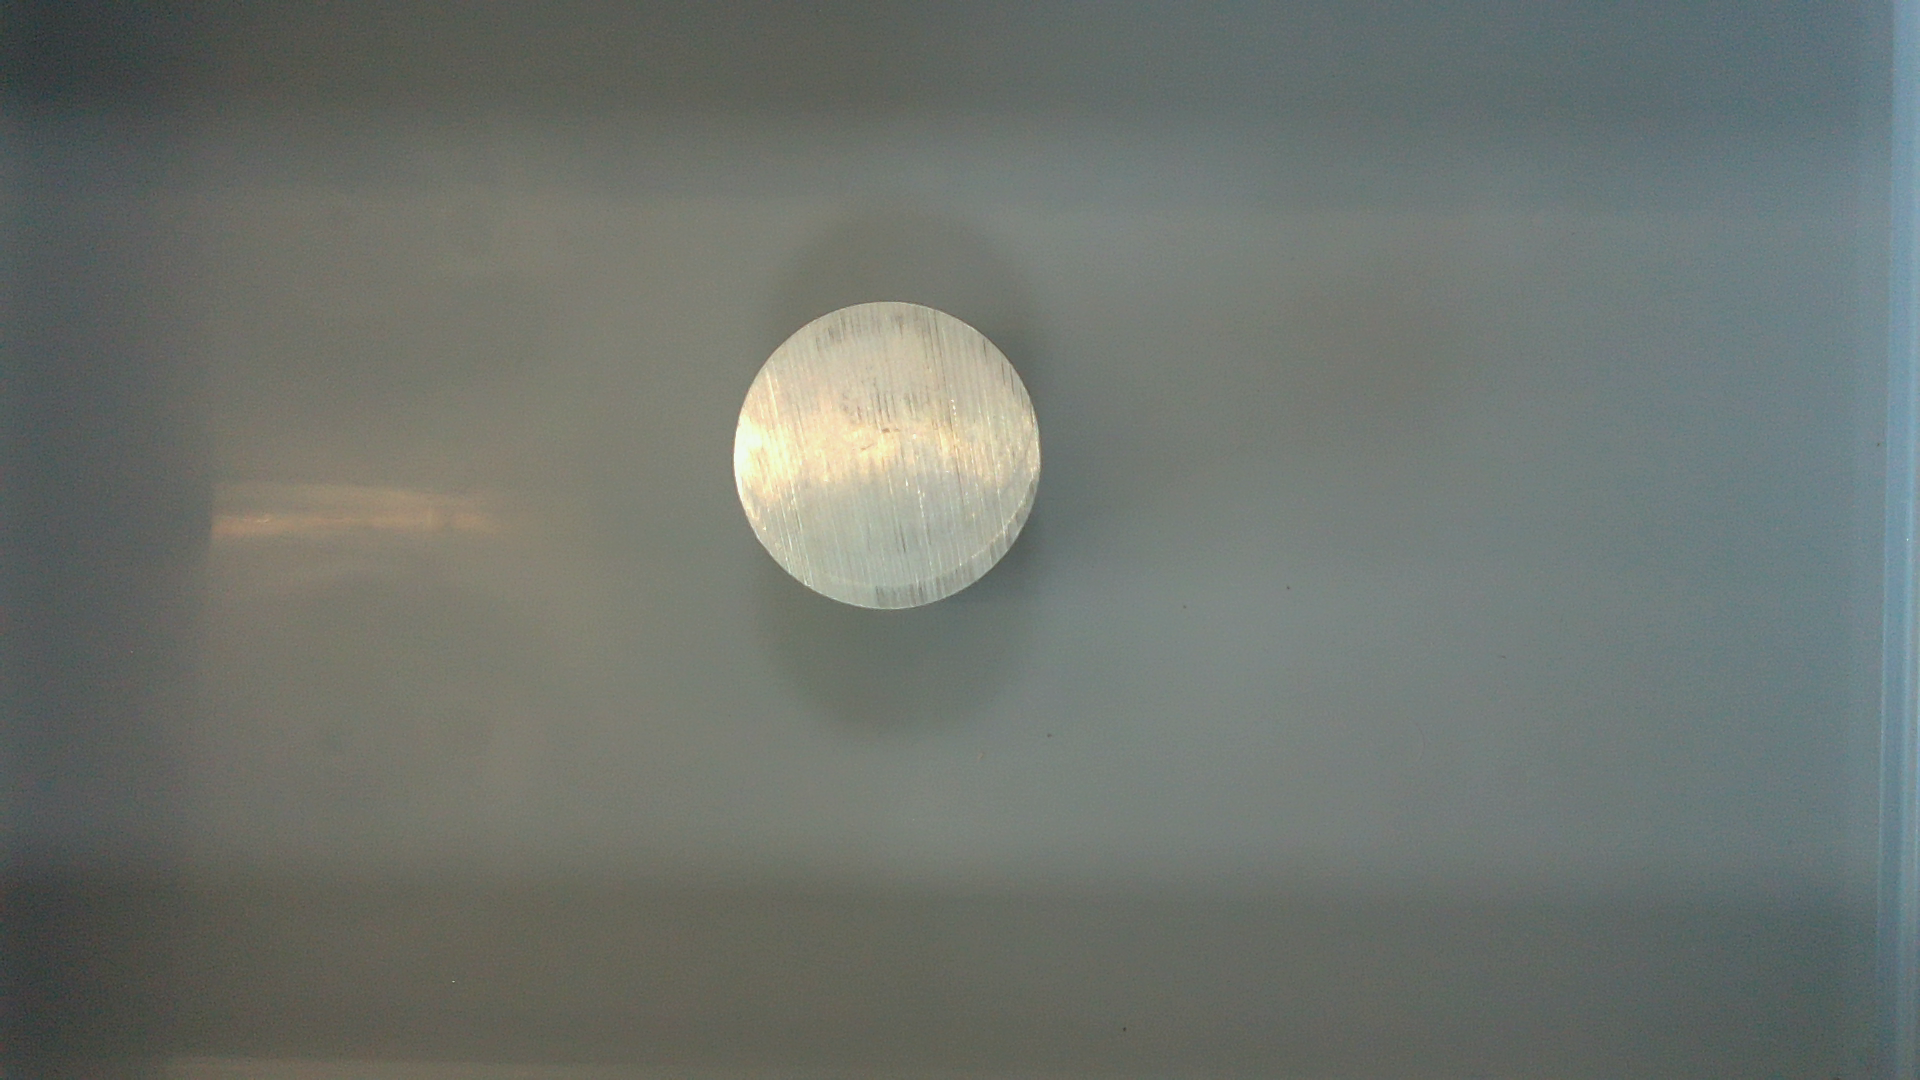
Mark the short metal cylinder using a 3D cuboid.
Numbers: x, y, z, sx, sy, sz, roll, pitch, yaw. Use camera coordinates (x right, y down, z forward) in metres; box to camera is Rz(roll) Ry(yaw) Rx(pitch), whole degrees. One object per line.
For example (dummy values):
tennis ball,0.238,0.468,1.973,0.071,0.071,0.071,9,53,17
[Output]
short metal cylinder,-0.019,-0.022,0.381,0.080,0.050,0.080,0,90,0
